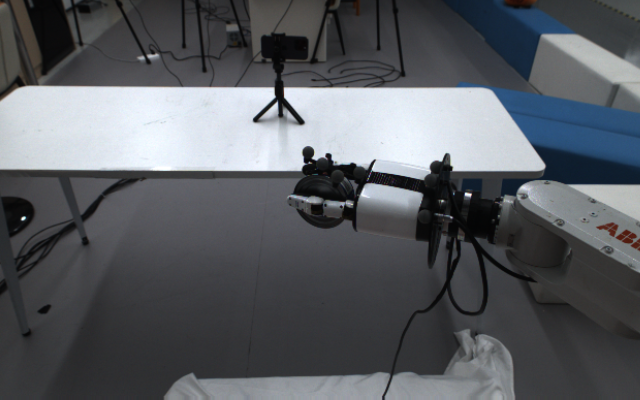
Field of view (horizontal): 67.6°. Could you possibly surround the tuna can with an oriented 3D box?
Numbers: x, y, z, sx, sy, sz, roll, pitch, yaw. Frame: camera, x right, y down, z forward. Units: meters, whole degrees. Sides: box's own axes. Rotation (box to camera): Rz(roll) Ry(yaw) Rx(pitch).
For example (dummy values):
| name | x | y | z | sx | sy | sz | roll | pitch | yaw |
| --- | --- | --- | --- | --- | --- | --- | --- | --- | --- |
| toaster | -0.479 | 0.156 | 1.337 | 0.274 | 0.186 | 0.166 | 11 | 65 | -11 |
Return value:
| name | x | y | z | sx | sy | sz | roll | pitch | yaw |
| --- | --- | --- | --- | --- | --- | --- | --- | --- | --- |
| tuna can | 0.008 | -0.006 | 0.704 | 0.085 | 0.085 | 0.034 | 16 | 29 | 19 |
